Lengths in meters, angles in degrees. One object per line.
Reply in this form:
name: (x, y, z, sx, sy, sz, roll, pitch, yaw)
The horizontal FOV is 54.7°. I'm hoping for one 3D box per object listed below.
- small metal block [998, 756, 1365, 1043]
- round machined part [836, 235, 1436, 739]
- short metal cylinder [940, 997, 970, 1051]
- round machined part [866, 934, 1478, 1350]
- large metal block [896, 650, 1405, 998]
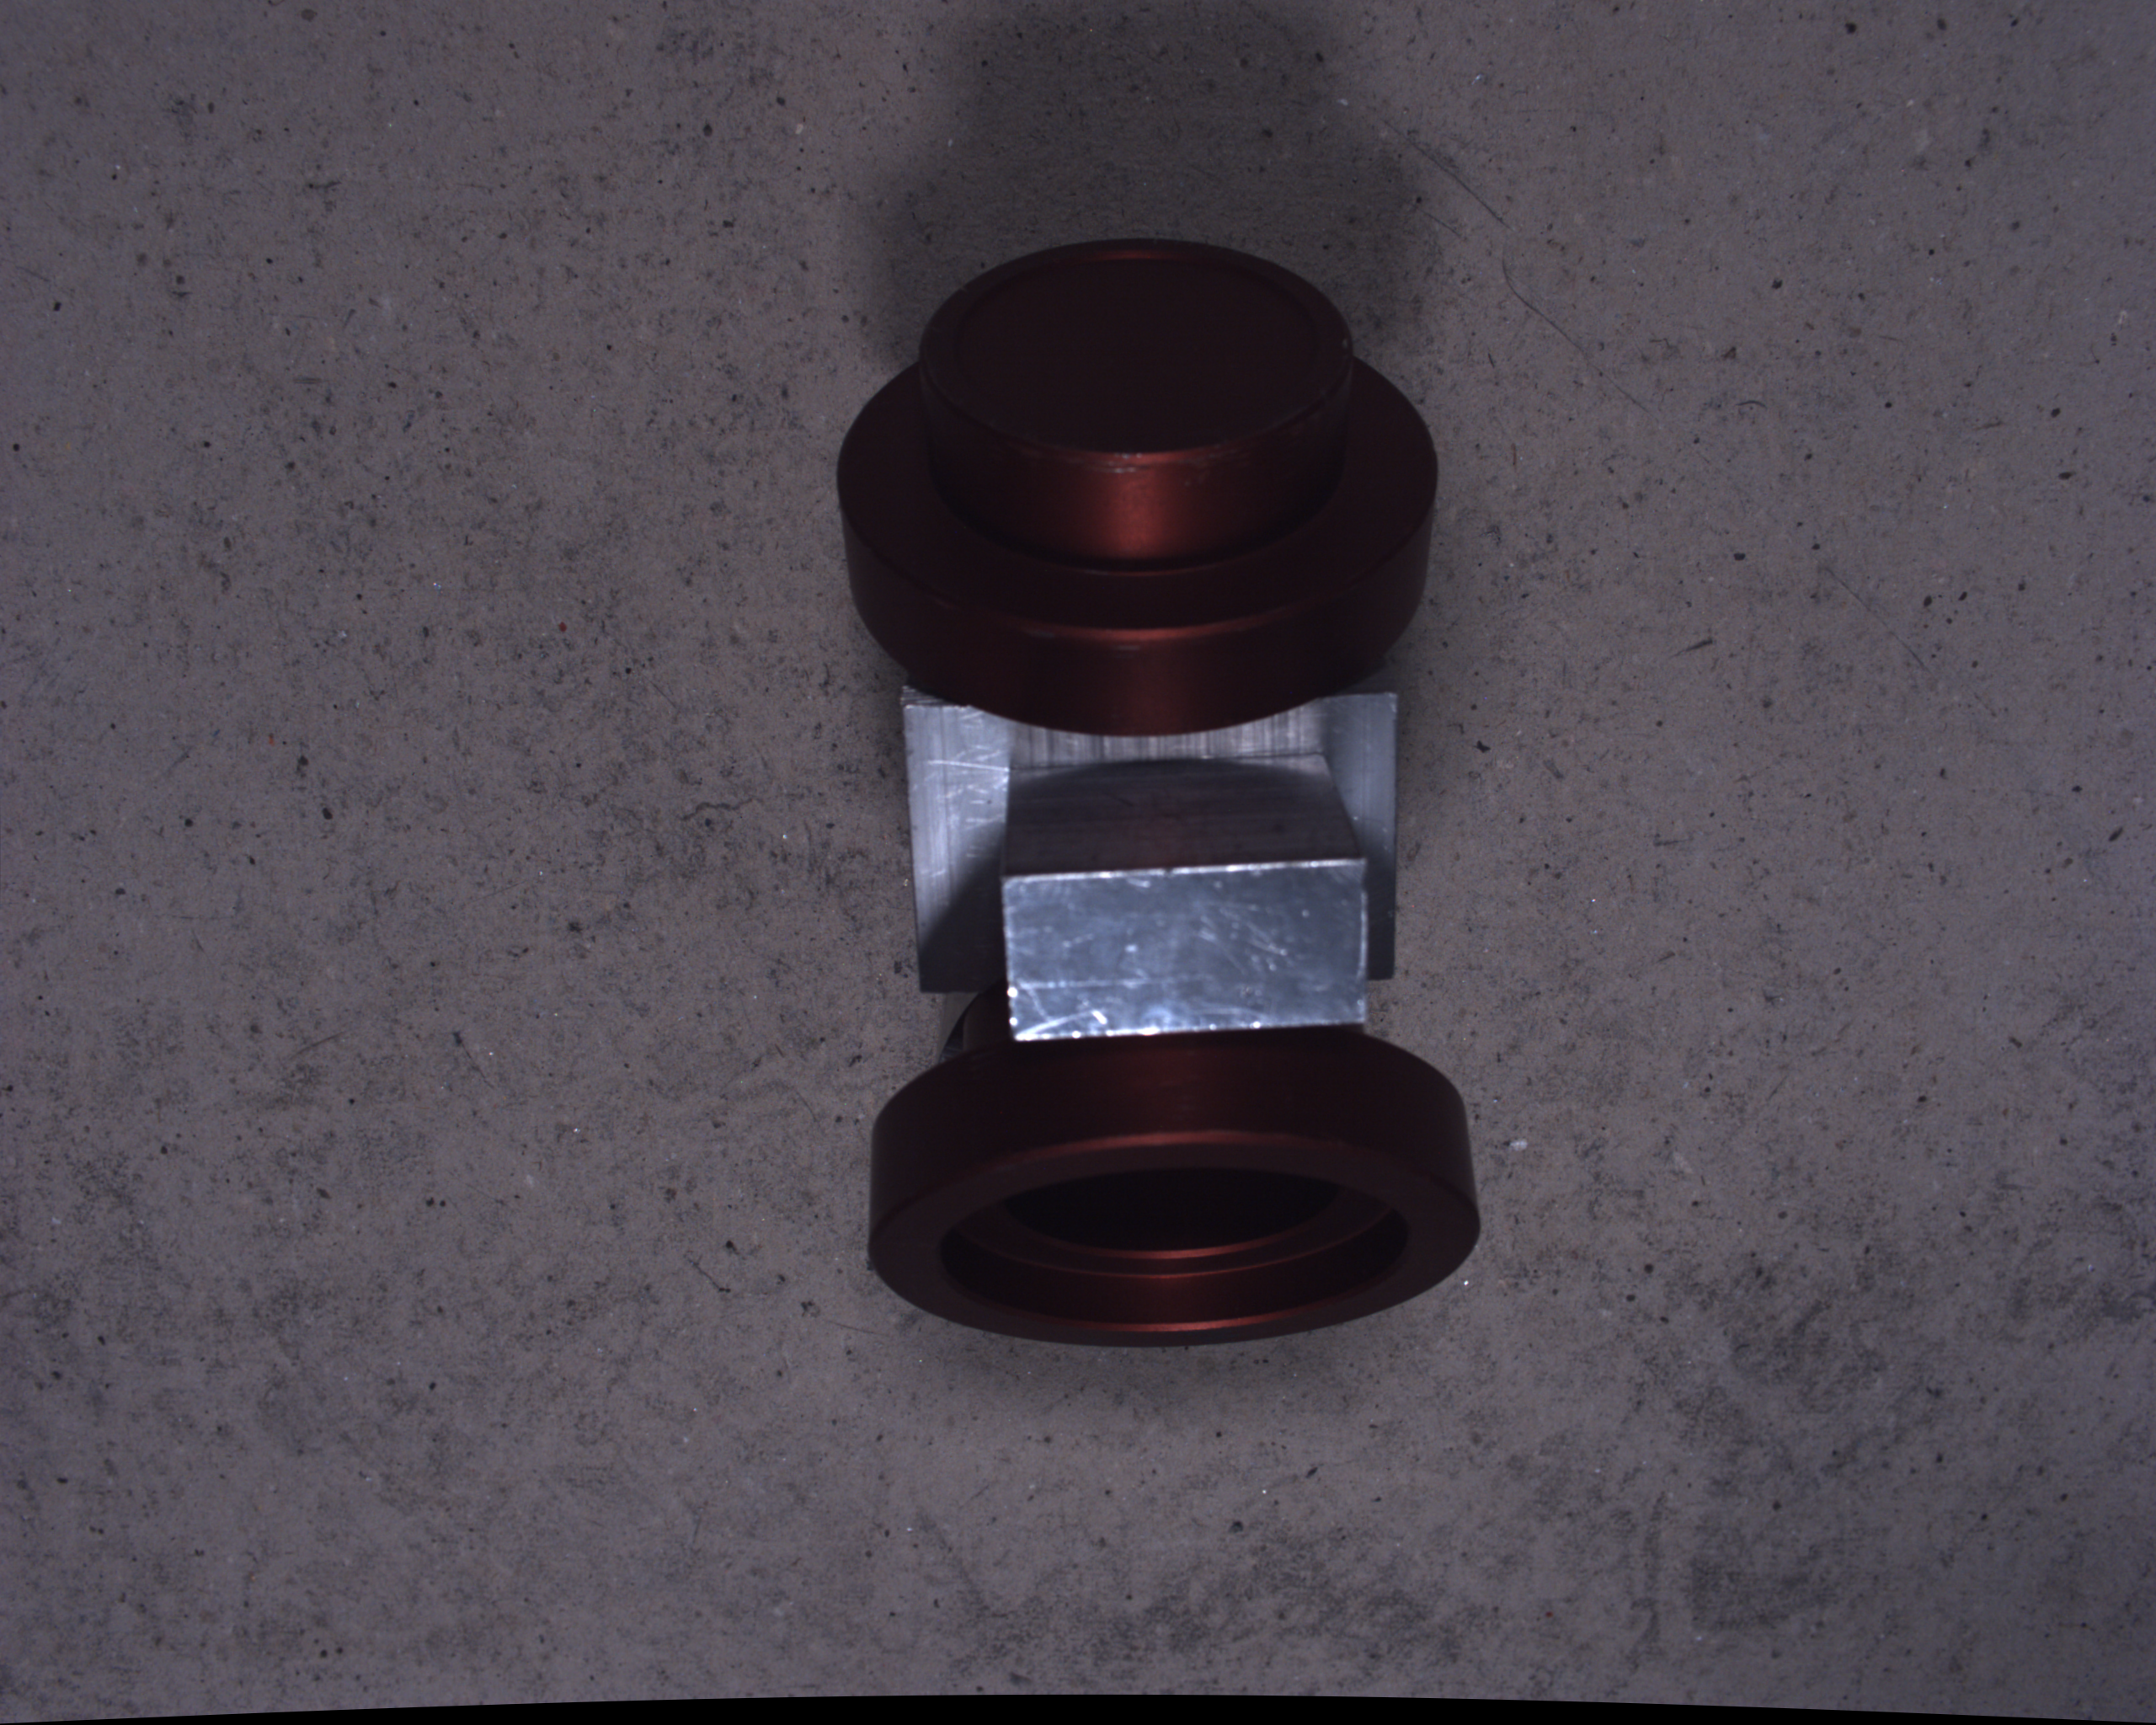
small metal block: (0.015, 0.004, 0.313, 0.050, 0.050, 0.025, -2, 110, 1)
round machined part: (0.009, -0.068, 0.343, 0.099, 0.098, 0.042, -2, 135, 0)
short metal cylinder: (0.012, 0.039, 0.413, 0.081, 0.050, 0.079, 0, 110, -1)
round machined part: (0.015, 0.046, 0.349, 0.099, 0.042, 0.098, -1, 149, -1)
large metal block: (0.012, -0.016, 0.375, 0.081, 0.080, 0.050, -2, 110, 0)
